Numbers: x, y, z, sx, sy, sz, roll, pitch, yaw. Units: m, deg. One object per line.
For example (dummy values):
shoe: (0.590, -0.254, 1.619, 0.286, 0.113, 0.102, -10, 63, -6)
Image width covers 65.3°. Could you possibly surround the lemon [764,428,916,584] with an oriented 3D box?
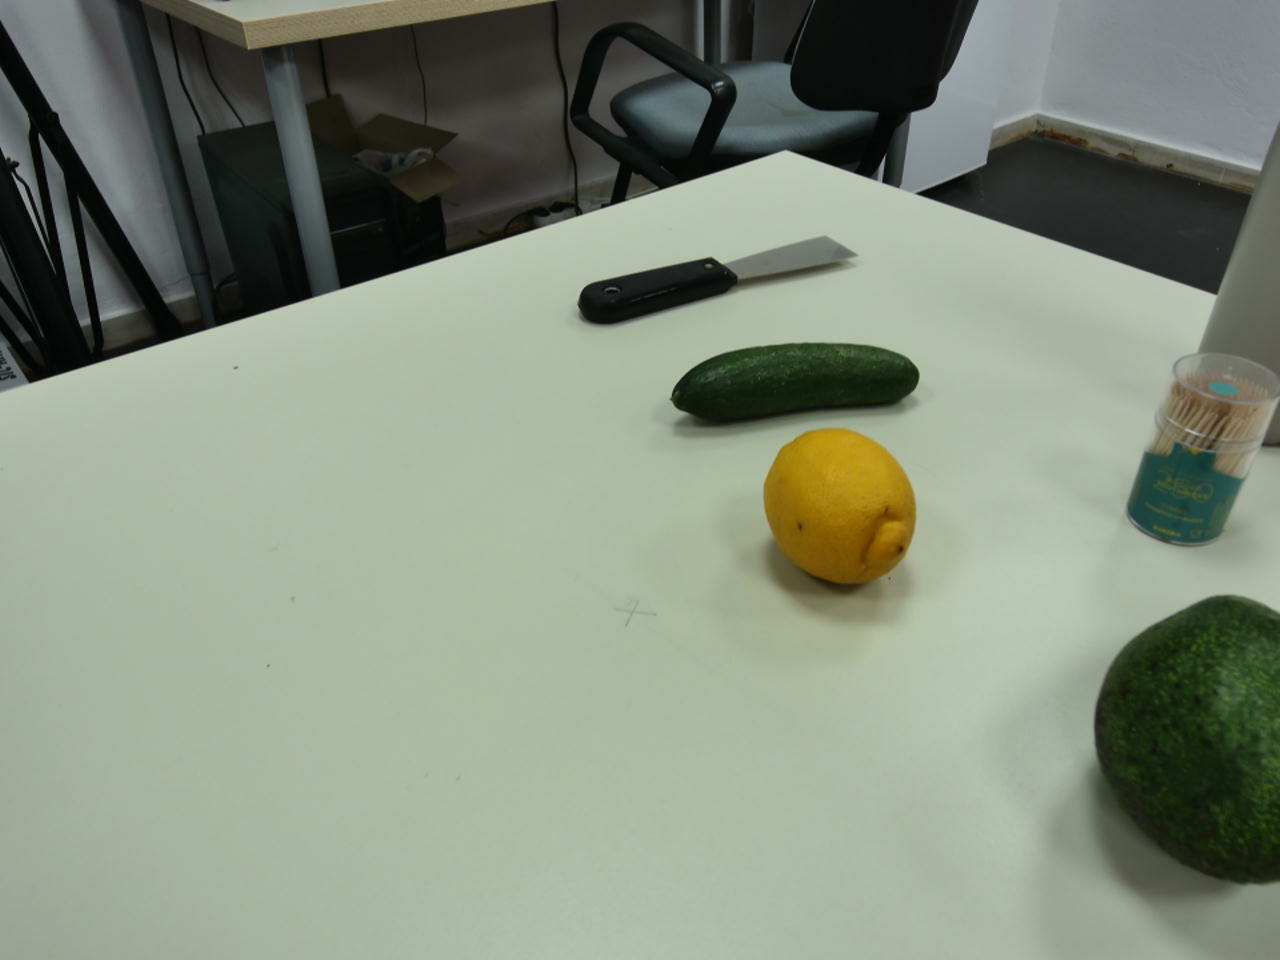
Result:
lemon: (0.082, 0.011, 0.413, 0.061, 0.059, 0.066, 2, 35, 4)
